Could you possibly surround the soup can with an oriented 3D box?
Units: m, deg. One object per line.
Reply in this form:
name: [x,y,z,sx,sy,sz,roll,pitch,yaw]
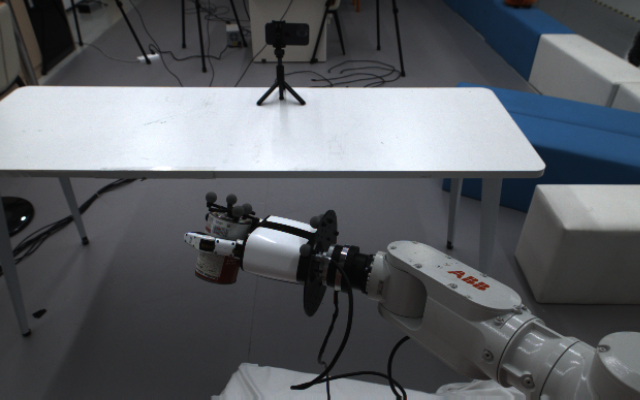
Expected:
soup can: [-0.148,0.072,0.745,0.067,0.101,0.067,16,7,-2]
